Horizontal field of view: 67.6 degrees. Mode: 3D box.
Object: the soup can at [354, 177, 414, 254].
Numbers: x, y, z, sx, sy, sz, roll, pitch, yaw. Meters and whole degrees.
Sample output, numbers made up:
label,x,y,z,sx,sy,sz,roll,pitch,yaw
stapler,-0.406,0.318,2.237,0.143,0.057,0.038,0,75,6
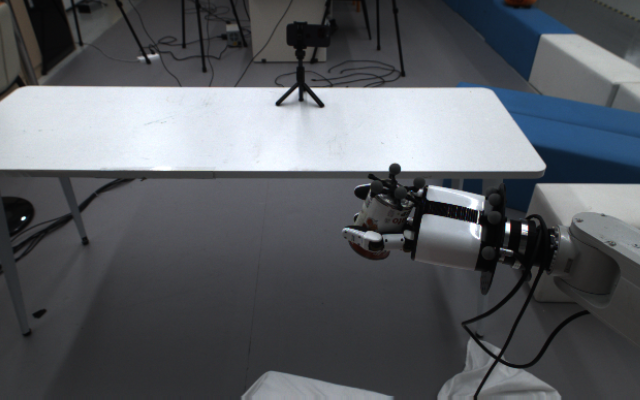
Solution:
label,x,y,z,sx,sy,sz,roll,pitch,yaw
soup can,0.090,0.029,0.707,0.067,0.101,0.067,14,35,-10
